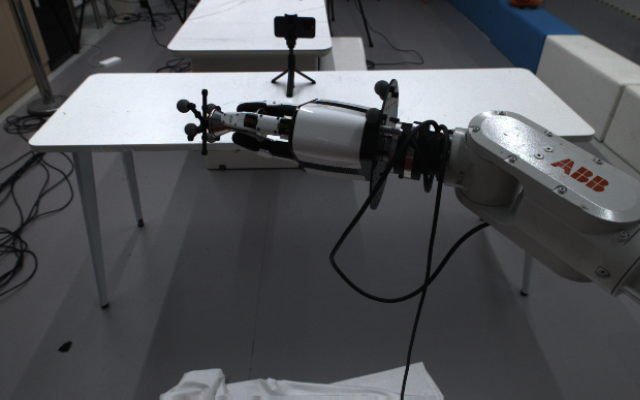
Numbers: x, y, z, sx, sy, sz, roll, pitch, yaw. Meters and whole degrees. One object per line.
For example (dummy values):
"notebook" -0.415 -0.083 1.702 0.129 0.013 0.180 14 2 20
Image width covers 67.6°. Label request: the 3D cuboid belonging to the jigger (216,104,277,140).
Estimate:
"jigger" -0.104 -0.106 0.648 0.071 0.043 0.043 4 34 16
